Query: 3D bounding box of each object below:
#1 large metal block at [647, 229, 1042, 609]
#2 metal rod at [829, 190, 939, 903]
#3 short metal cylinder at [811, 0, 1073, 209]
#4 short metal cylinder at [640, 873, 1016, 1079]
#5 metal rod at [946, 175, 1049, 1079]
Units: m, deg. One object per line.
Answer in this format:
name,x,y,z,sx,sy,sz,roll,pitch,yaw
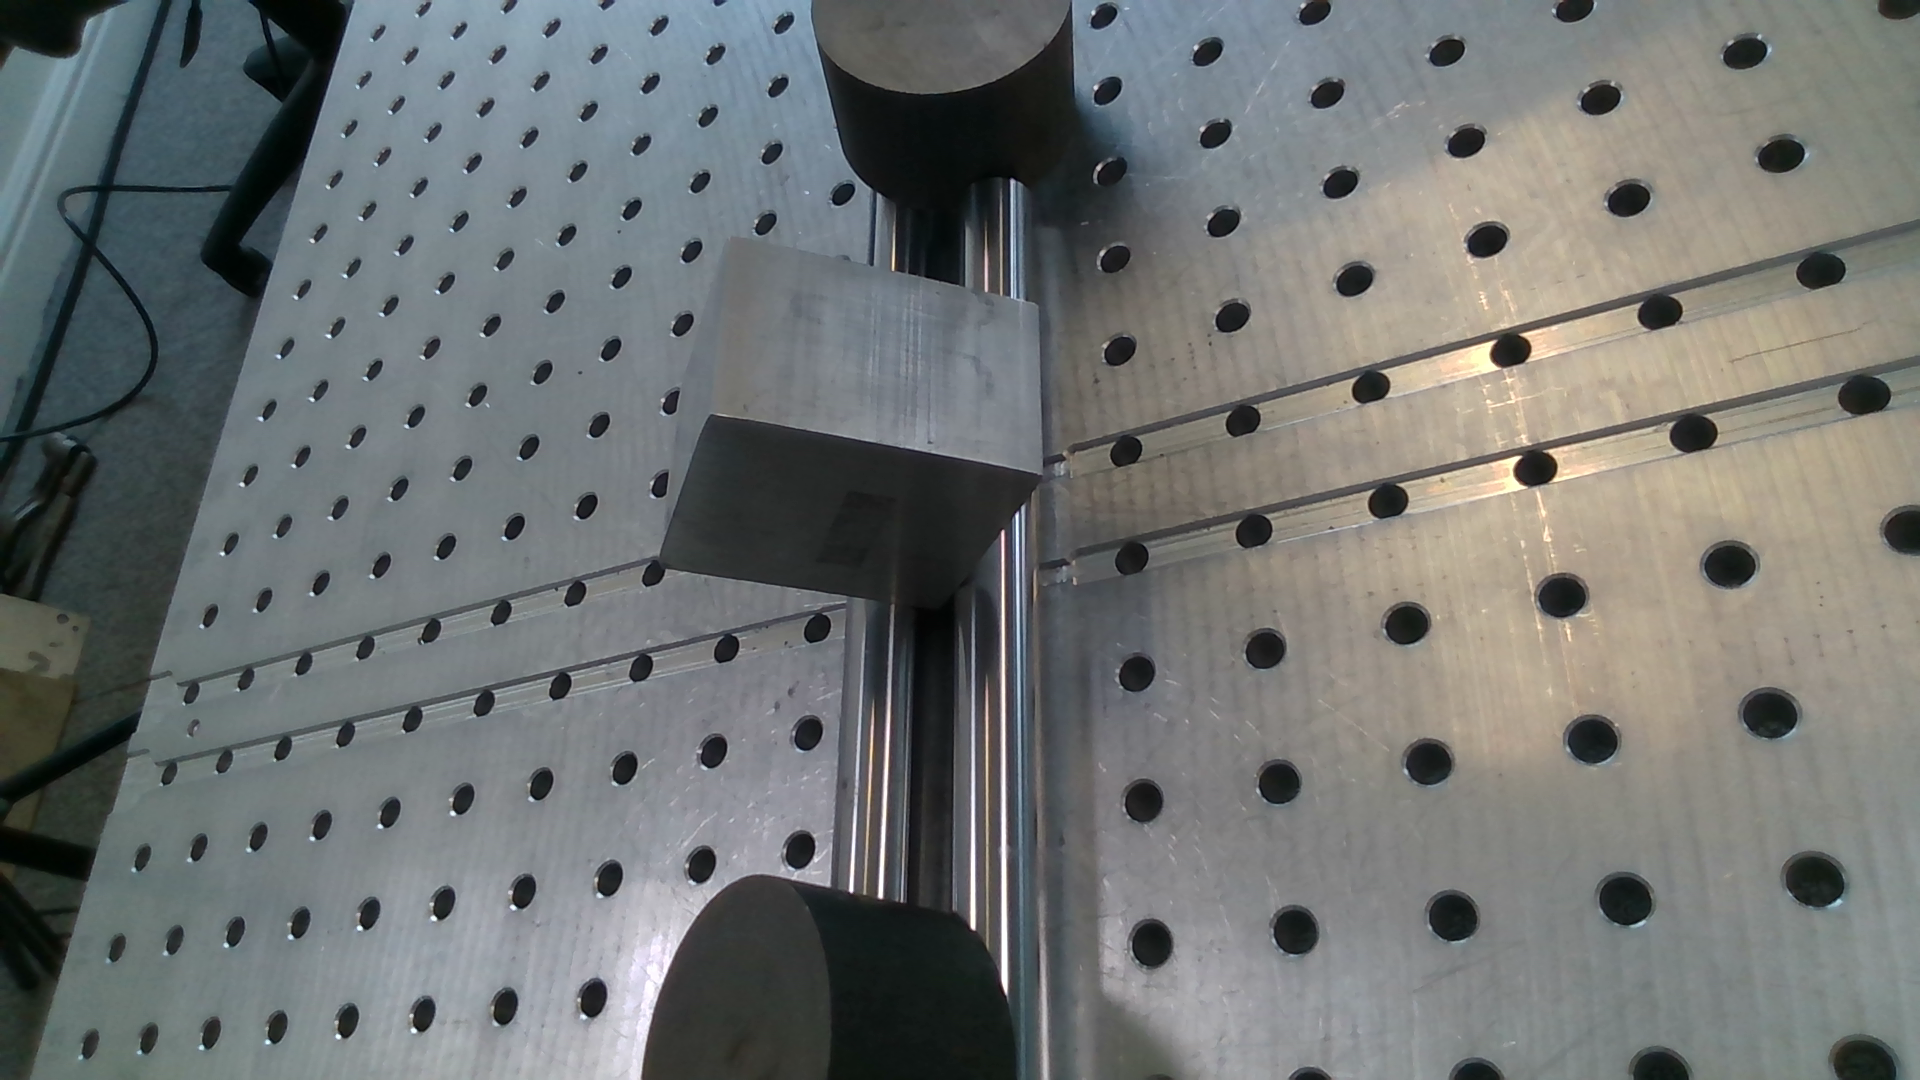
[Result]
large metal block,-0.032,-0.027,0.355,0.080,0.080,0.050,128,148,-57
metal rod,-0.020,-0.035,0.426,0.025,0.025,0.299,-14,59,25
short metal cylinder,-0.004,-0.155,0.446,0.080,0.050,0.080,-3,62,5
short metal cylinder,-0.032,0.122,0.318,0.080,0.050,0.080,-31,49,43
metal rod,0.010,0.023,0.377,0.025,0.025,0.299,-14,59,25
